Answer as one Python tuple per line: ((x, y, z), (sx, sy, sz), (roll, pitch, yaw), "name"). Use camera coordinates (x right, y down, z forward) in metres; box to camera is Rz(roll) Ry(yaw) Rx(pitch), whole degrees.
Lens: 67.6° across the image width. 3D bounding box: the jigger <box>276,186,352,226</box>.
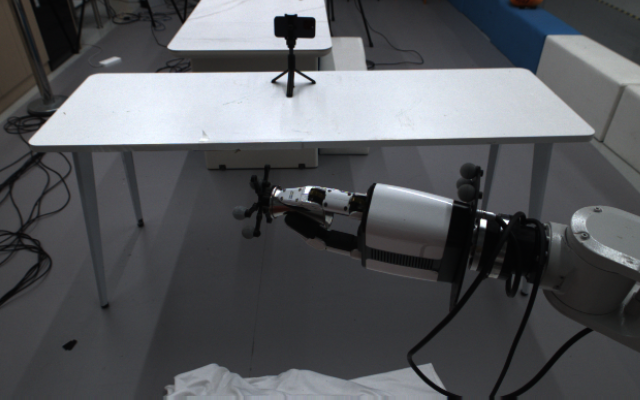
((-0.014, 0.003, 0.565), (0.071, 0.043, 0.043), (7, 35, 15), "jigger")
